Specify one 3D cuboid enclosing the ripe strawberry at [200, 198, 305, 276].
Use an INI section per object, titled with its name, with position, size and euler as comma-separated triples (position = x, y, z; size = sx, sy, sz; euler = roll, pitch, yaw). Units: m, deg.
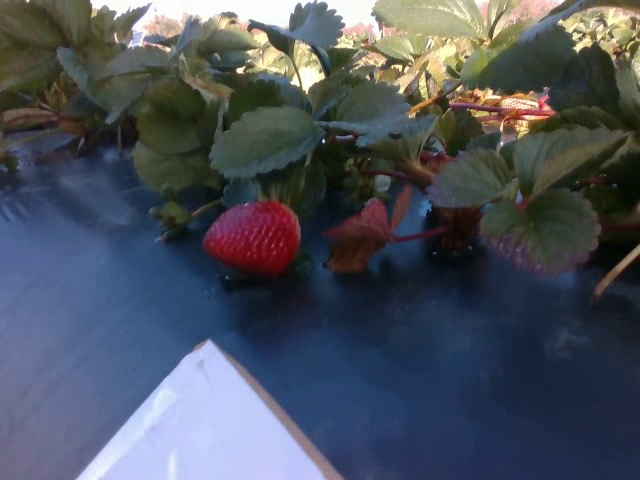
[ripe strawberry]
position = -0.031, -0.001, 0.249
size = 0.040, 0.041, 0.056
euler = -29, -7, 25
